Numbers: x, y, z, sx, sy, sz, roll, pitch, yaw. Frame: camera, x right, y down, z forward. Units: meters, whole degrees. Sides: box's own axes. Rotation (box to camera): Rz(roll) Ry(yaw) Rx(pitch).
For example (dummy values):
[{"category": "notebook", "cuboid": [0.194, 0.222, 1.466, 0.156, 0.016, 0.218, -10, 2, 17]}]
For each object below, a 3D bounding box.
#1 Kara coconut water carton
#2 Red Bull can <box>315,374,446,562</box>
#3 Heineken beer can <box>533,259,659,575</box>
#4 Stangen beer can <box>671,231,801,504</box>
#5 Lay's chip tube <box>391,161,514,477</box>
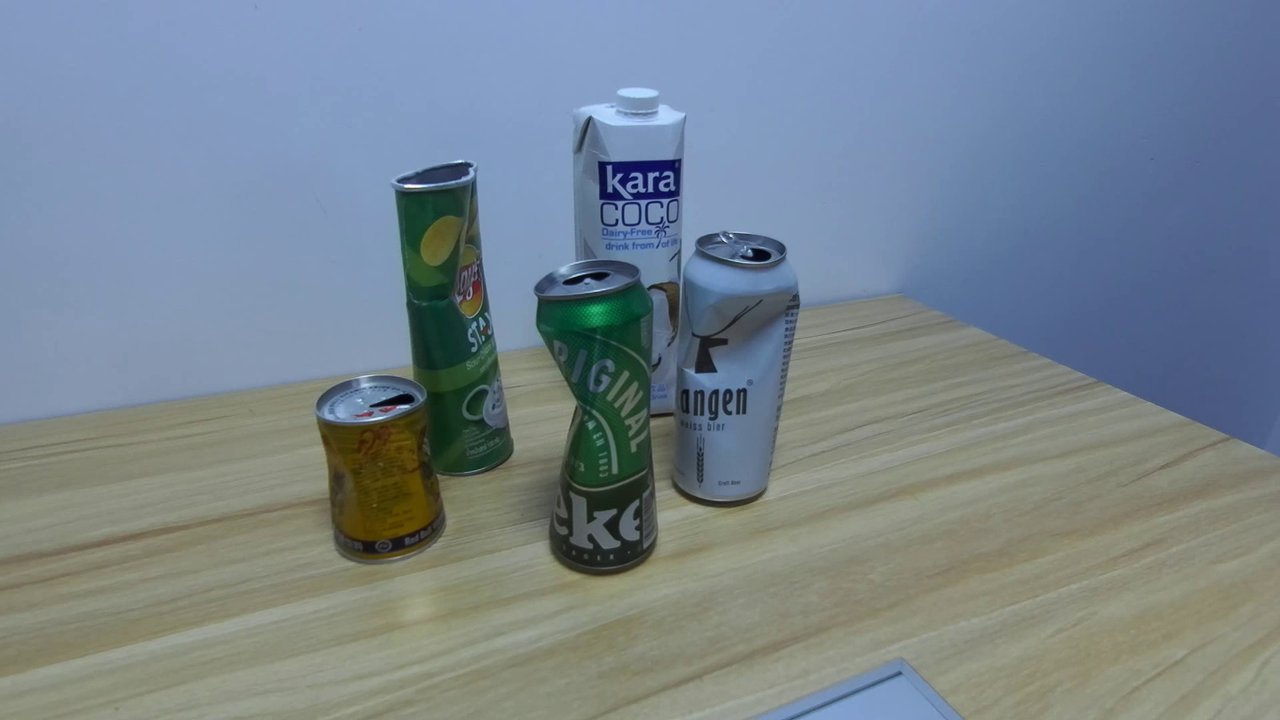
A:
[{"category": "Kara coconut water carton", "cuboid": [-0.010, -0.077, 0.540, 0.077, 0.245, 0.075, -5, 23, -14]}, {"category": "Red Bull can", "cuboid": [-0.151, 0.063, 0.414, 0.072, 0.092, 0.072, 1, 24, 0]}, {"category": "Heineken beer can", "cuboid": [-0.023, 0.034, 0.393, 0.069, 0.168, 0.068, 16, 29, 38]}, {"category": "Stangen beer can", "cuboid": [0.057, 0.007, 0.446, 0.070, 0.173, 0.070, 16, 29, 29]}, {"category": "Lay's chip tube", "cuboid": [-0.127, -0.025, 0.481, 0.069, 0.199, 0.074, -14, 28, -29]}]
